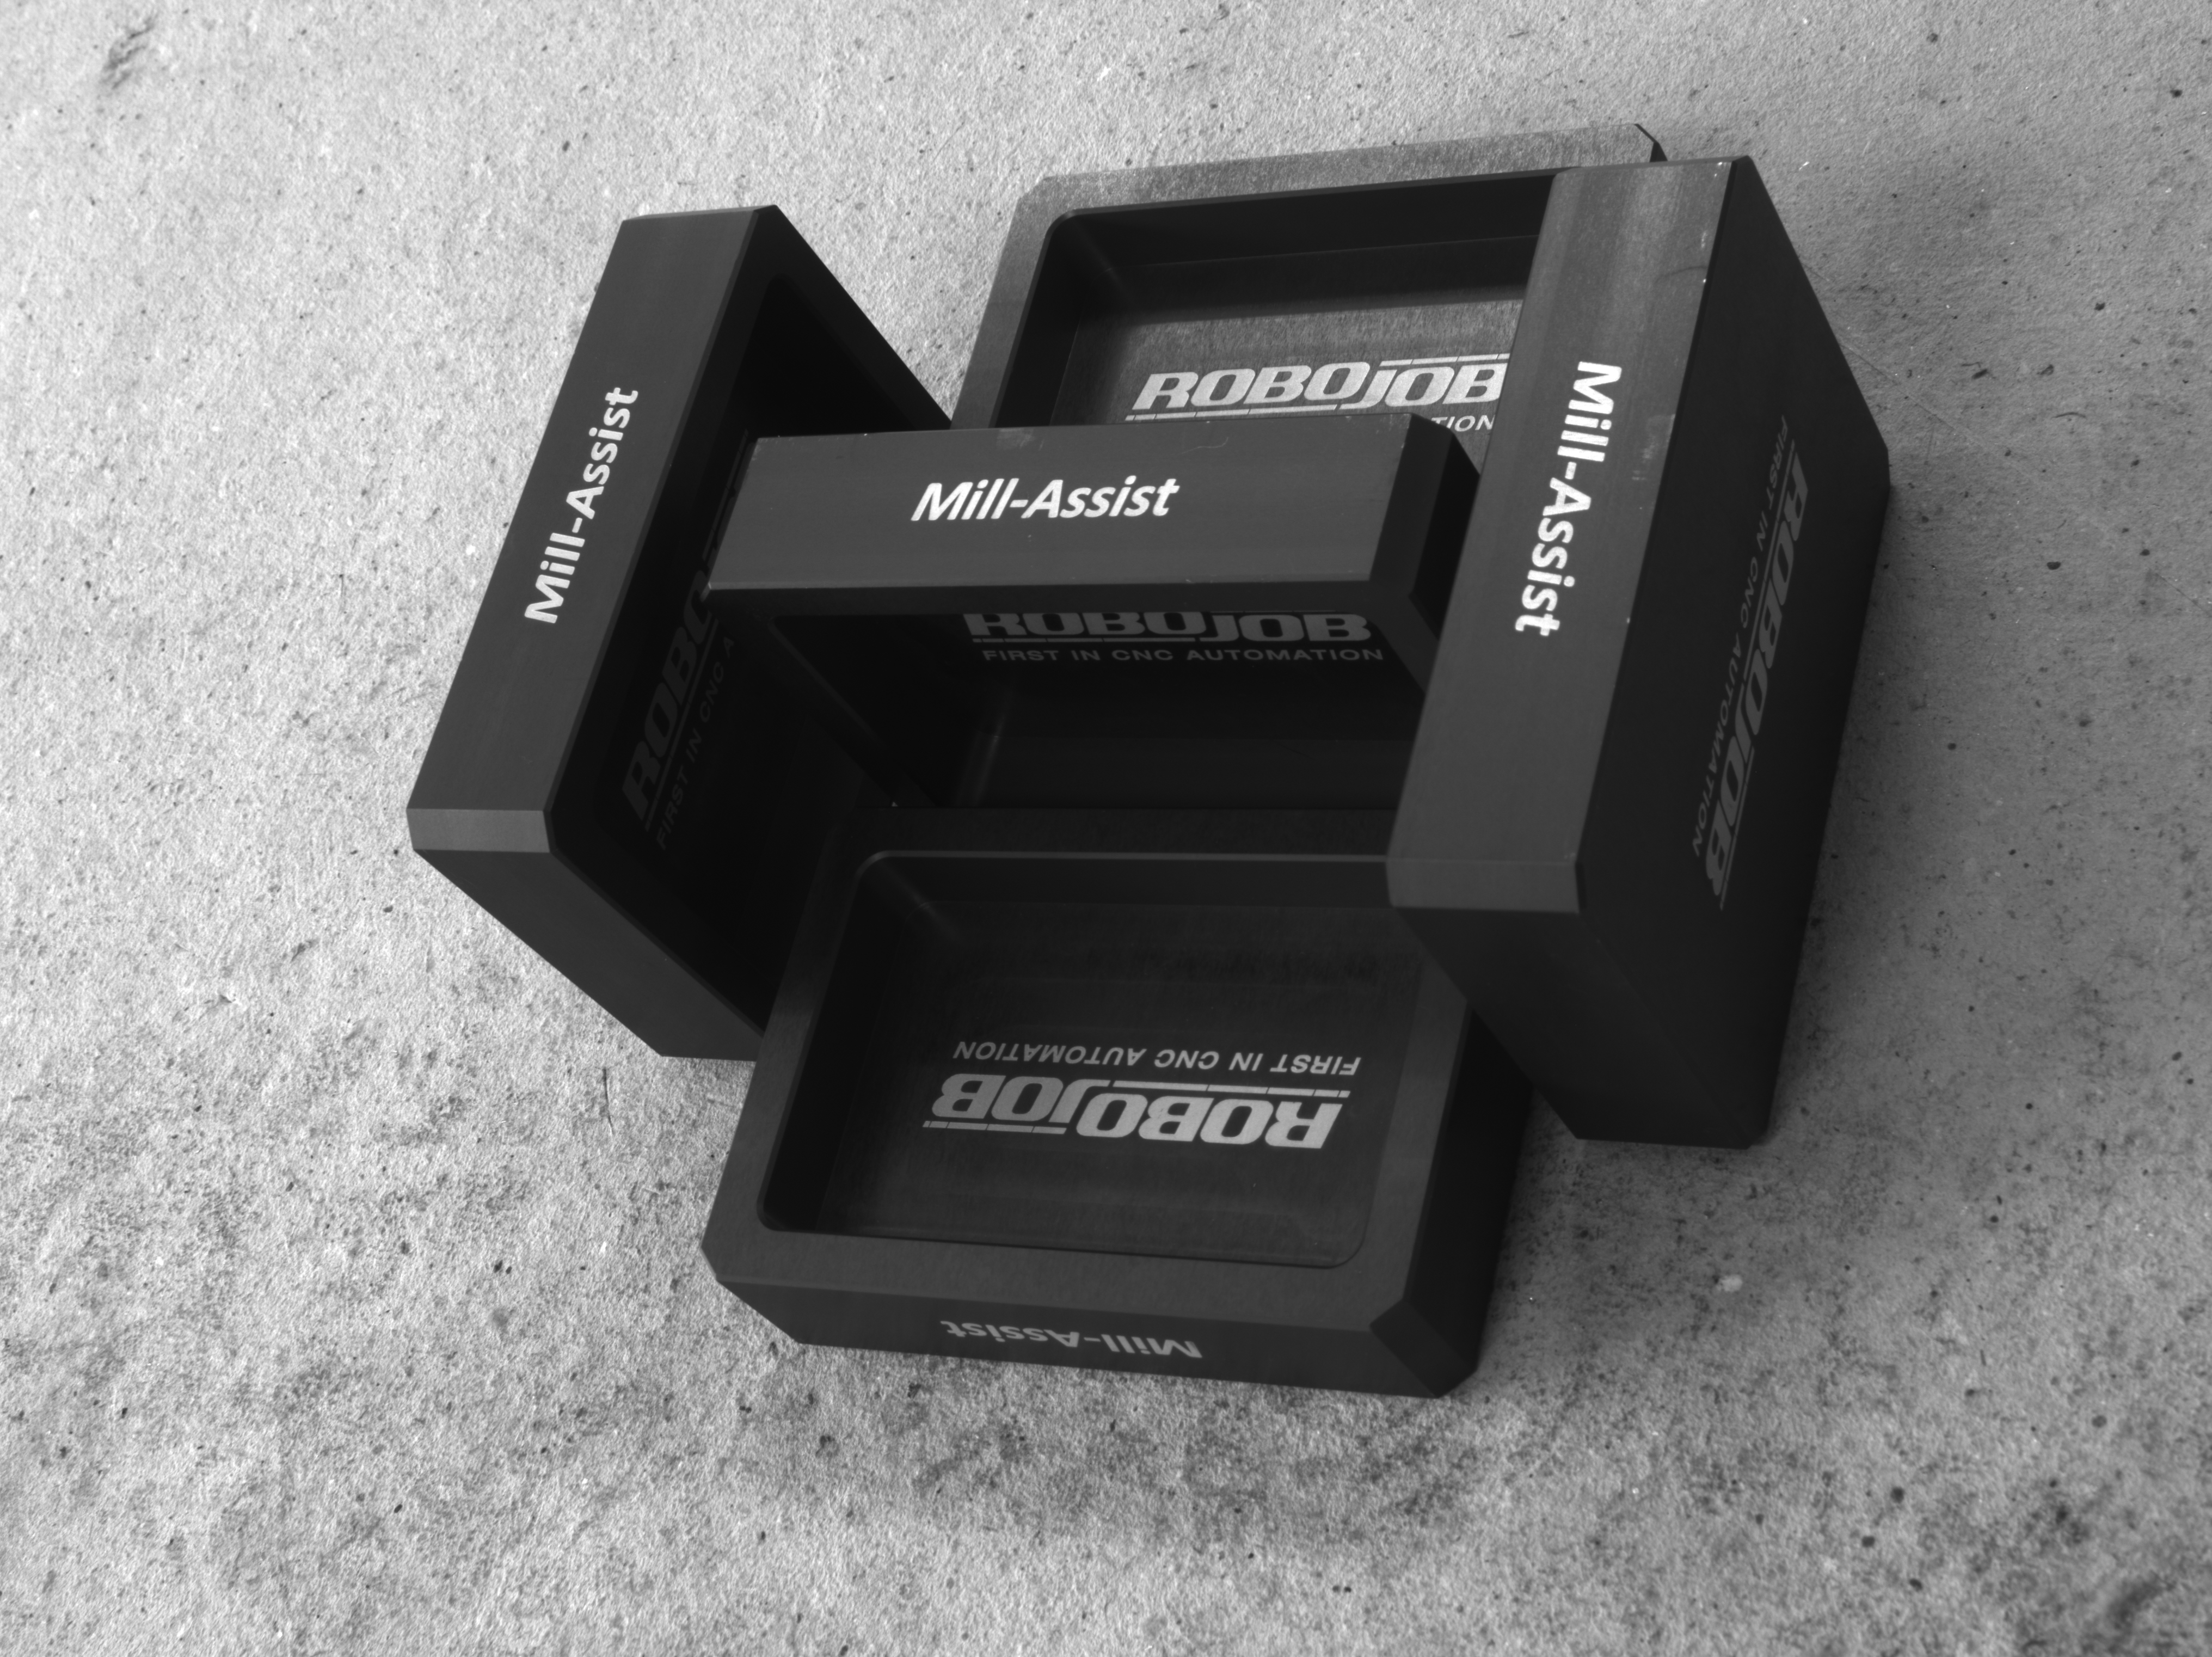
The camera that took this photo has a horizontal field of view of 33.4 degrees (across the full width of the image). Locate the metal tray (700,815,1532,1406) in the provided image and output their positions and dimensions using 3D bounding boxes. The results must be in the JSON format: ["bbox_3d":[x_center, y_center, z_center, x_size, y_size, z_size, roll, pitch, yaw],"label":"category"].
[{"bbox_3d":[0.004,0.044,0.615,0.130,0.030,0.090,1,61,29],"label":"metal tray"}]

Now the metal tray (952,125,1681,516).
[{"bbox_3d":[0.036,-0.077,0.671,0.130,0.030,0.090,0,65,29],"label":"metal tray"}]

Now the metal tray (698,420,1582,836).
[{"bbox_3d":[0.009,-0.030,0.619,0.130,0.090,0.030,1,63,29],"label":"metal tray"}]

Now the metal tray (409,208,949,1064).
[{"bbox_3d":[-0.070,-0.034,0.663,0.030,0.090,0.130,1,63,29],"label":"metal tray"}]

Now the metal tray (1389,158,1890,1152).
[{"bbox_3d":[0.086,-0.026,0.573,0.030,0.090,0.130,1,62,29],"label":"metal tray"}]
